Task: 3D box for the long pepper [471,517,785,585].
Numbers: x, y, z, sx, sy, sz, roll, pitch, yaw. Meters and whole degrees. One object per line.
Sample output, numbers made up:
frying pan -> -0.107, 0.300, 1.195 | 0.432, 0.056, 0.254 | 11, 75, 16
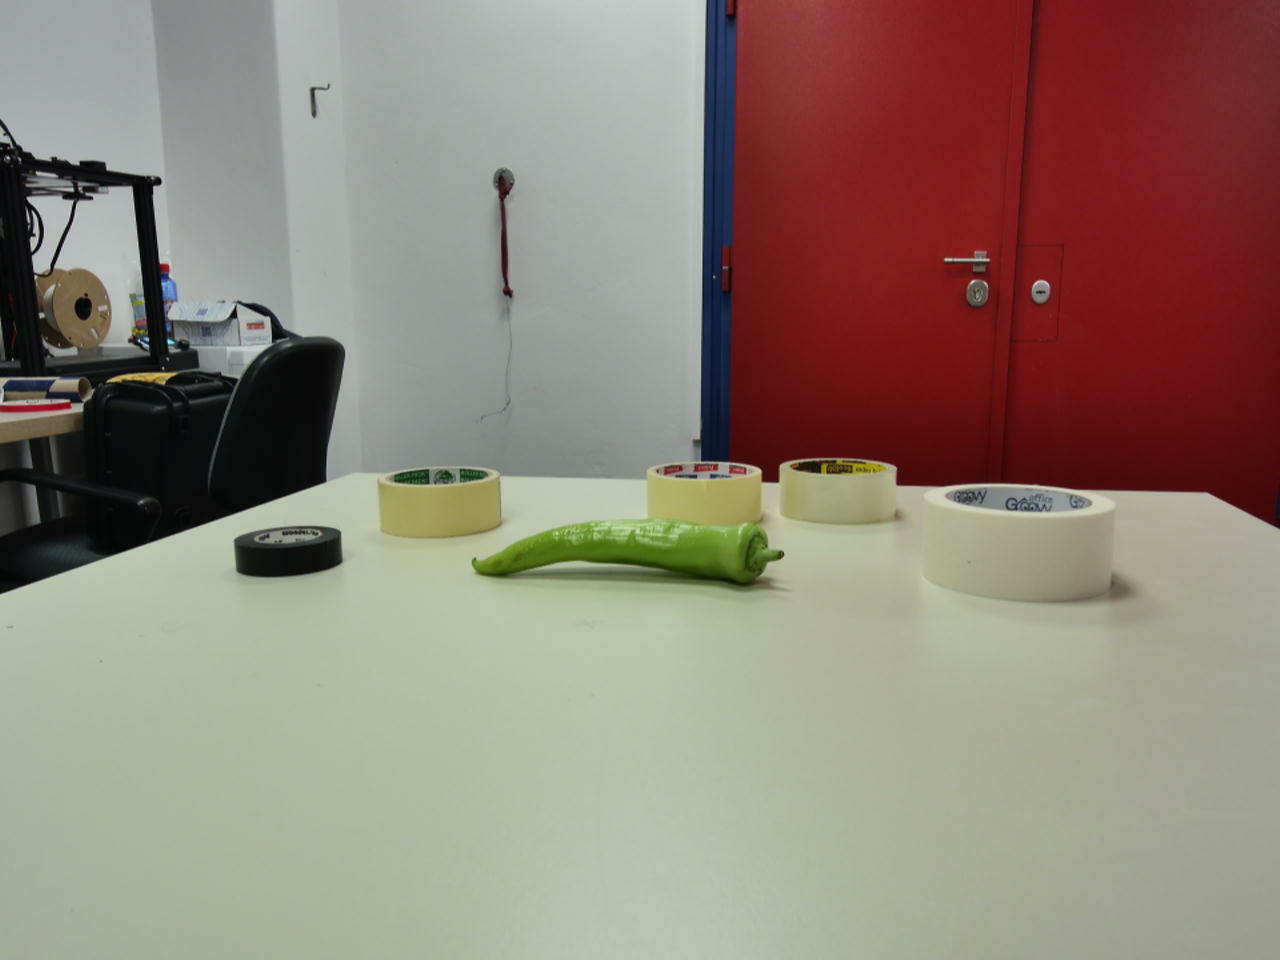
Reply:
long pepper -> -0.008, 0.041, 0.615 | 0.197, 0.038, 0.046 | 2, 8, 13
